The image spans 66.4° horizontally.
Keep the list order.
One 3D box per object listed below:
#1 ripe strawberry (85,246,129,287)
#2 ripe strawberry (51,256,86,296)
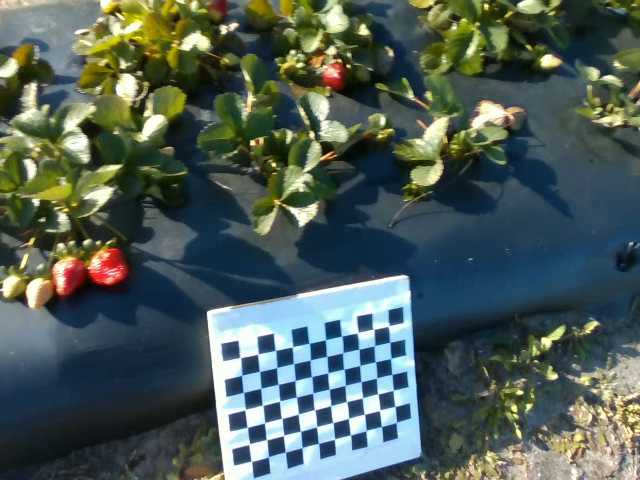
[{"bbox_3d":[-0.276,0.038,0.640,0.067,0.057,0.051,33,1,38],"label":"ripe strawberry"},{"bbox_3d":[-0.330,0.047,0.635,0.050,0.061,0.044,16,-40,-17],"label":"ripe strawberry"}]
